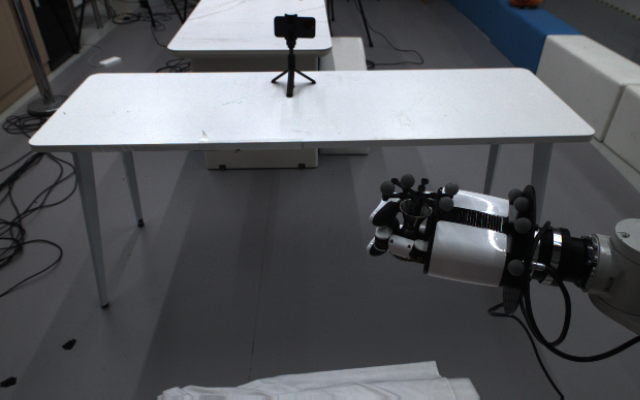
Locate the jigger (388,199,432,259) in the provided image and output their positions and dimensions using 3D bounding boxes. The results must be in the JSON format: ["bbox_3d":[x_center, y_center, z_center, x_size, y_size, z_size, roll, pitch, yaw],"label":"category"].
[{"bbox_3d":[0.118,0.037,0.616,0.043,0.071,0.043,4,31,-2],"label":"jigger"}]
